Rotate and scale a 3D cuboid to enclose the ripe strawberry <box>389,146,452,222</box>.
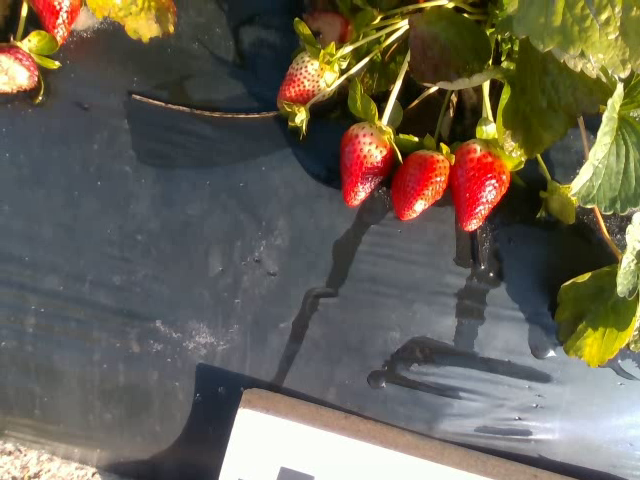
[{"bbox_3d":[0.048,-0.027,0.297,0.030,0.039,0.037,26,-35,-3],"label":"ripe strawberry"}]

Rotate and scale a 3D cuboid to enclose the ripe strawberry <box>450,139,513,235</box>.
[{"bbox_3d":[0.076,-0.020,0.300,0.035,0.041,0.034,13,-21,4],"label":"ripe strawberry"}]

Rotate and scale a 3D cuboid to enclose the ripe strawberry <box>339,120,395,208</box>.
[{"bbox_3d":[0.021,-0.037,0.305,0.031,0.046,0.023,16,15,2],"label":"ripe strawberry"}]
